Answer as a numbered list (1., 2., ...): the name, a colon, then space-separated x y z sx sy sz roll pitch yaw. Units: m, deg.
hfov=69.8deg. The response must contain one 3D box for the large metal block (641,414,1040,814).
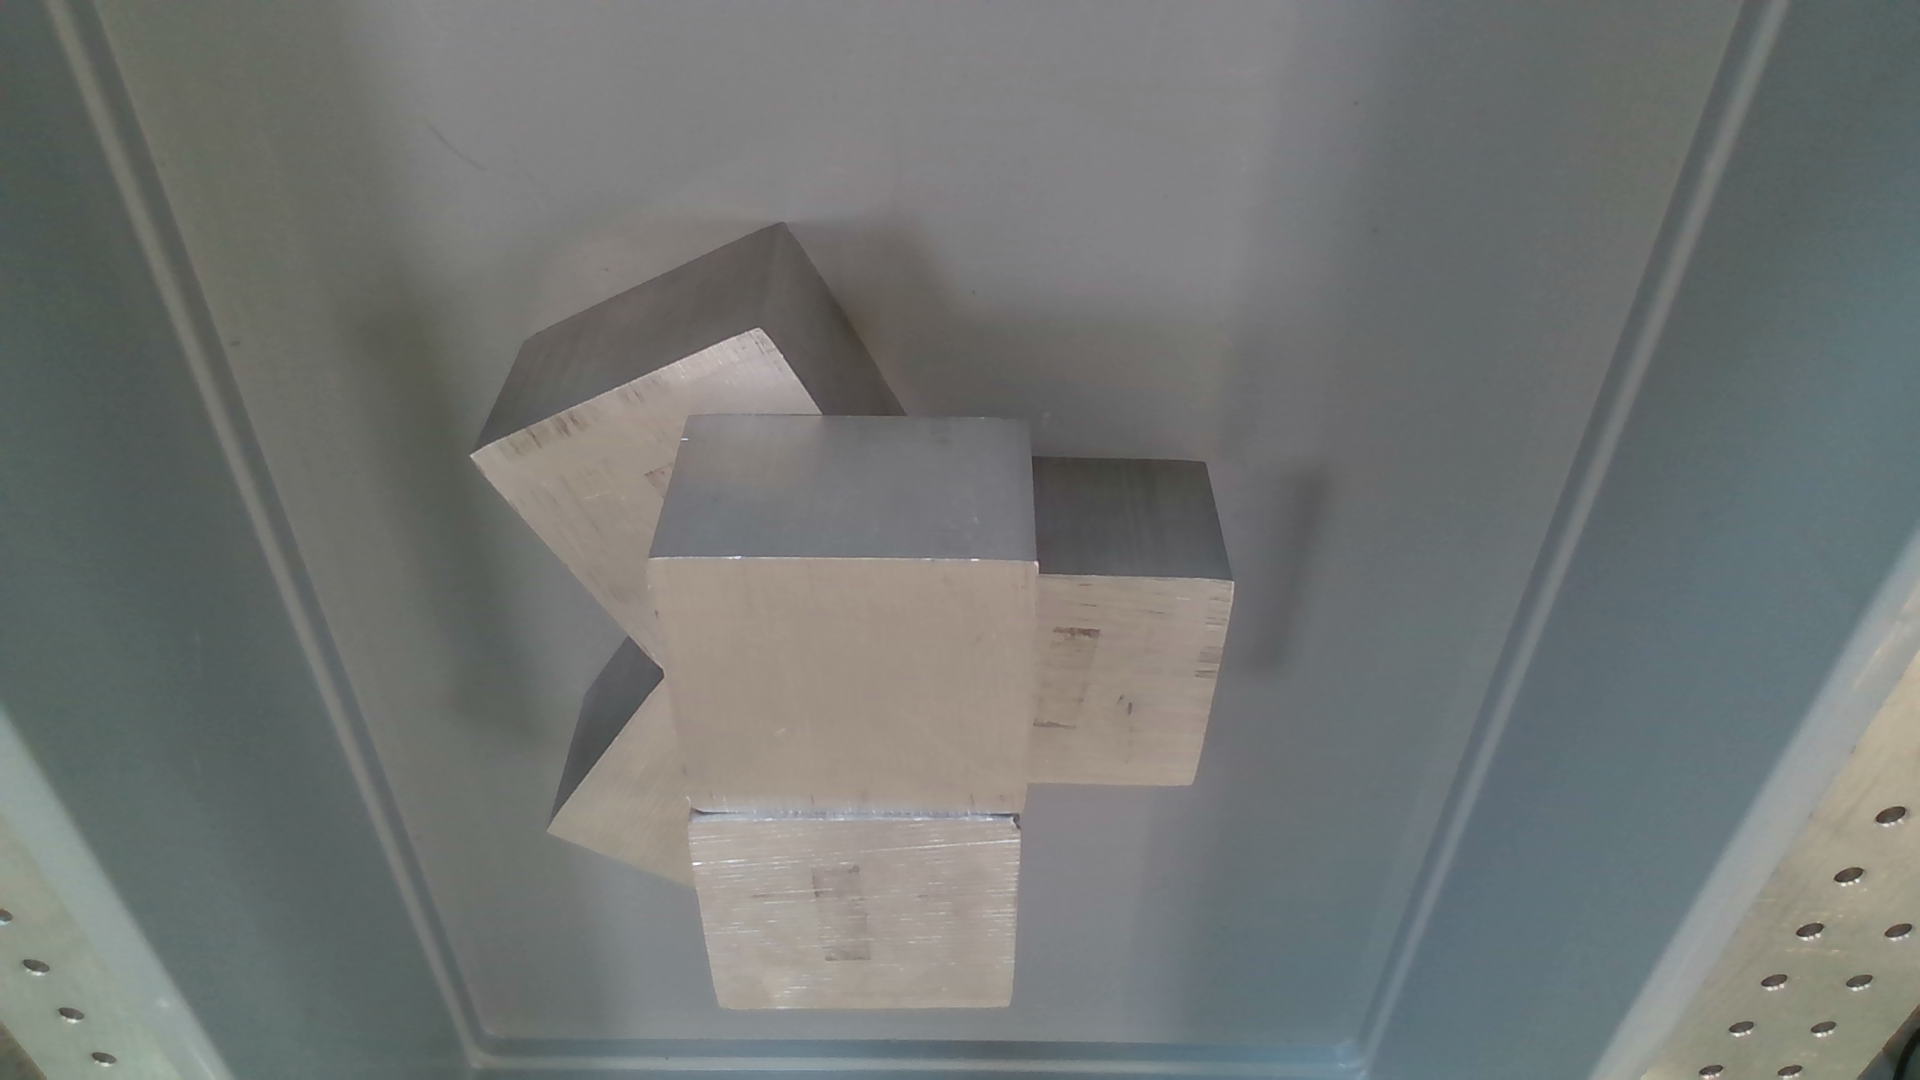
1. large metal block: -0.024 0.018 0.321 0.080 0.050 0.080 1 130 0

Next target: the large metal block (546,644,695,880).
1. large metal block: -0.067 0.060 0.420 0.080 0.050 0.080 27 124 -21

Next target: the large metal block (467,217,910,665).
1. large metal block: -0.062 -0.022 0.353 0.080 0.050 0.080 -21 127 17

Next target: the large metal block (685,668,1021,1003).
1. large metal block: -0.026 0.081 0.372 0.080 0.050 0.080 1 130 0

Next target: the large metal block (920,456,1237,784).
1. large metal block: 0.029 0.023 0.391 0.080 0.050 0.080 1 130 -1
